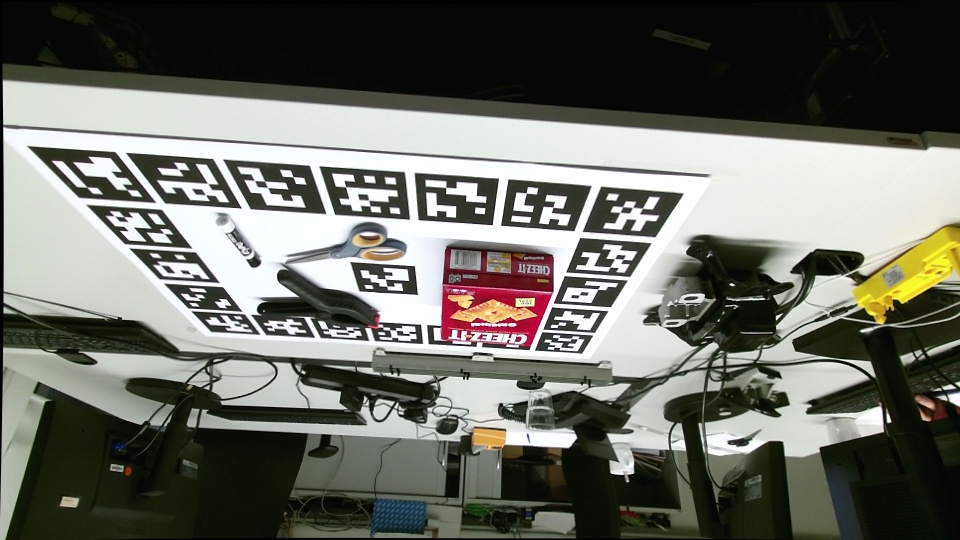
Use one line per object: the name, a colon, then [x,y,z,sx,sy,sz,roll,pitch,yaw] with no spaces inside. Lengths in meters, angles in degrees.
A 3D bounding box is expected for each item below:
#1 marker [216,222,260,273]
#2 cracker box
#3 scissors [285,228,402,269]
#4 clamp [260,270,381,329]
marker: [-0.356,-0.030,0.794,0.020,0.019,0.121,1,150,1]
cracker box: [0.014,0.056,0.868,0.165,0.071,0.214,4,150,-3]
scissors: [-0.213,-0.020,0.803,0.203,0.016,0.088,-10,149,24]
clamp: [-0.274,0.068,0.966,0.204,0.036,0.165,20,146,-27]
